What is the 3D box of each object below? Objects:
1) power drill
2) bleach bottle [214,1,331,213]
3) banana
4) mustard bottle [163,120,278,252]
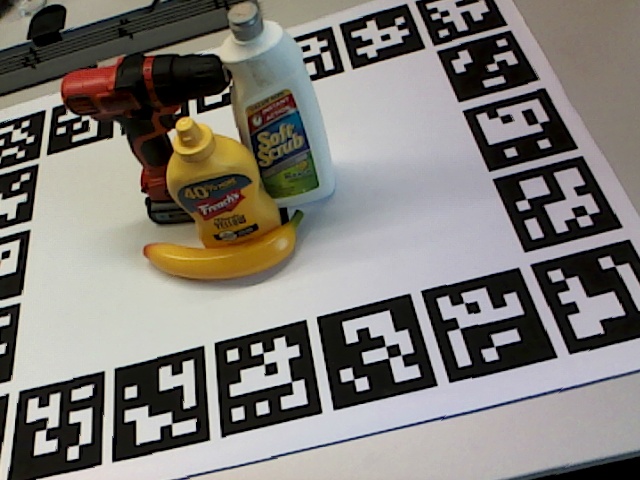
[{"bbox_3d":[-0.167,-0.116,0.684,0.185,0.186,0.057,-4,57,10],"label":"power drill"},{"bbox_3d":[-0.059,-0.135,0.664,0.103,0.249,0.068,-12,51,7],"label":"bleach bottle"},{"bbox_3d":[-0.109,0.016,0.714,0.198,0.038,0.074,-12,58,10],"label":"banana"},{"bbox_3d":[-0.112,-0.057,0.658,0.096,0.190,0.058,-14,57,4],"label":"mustard bottle"}]
